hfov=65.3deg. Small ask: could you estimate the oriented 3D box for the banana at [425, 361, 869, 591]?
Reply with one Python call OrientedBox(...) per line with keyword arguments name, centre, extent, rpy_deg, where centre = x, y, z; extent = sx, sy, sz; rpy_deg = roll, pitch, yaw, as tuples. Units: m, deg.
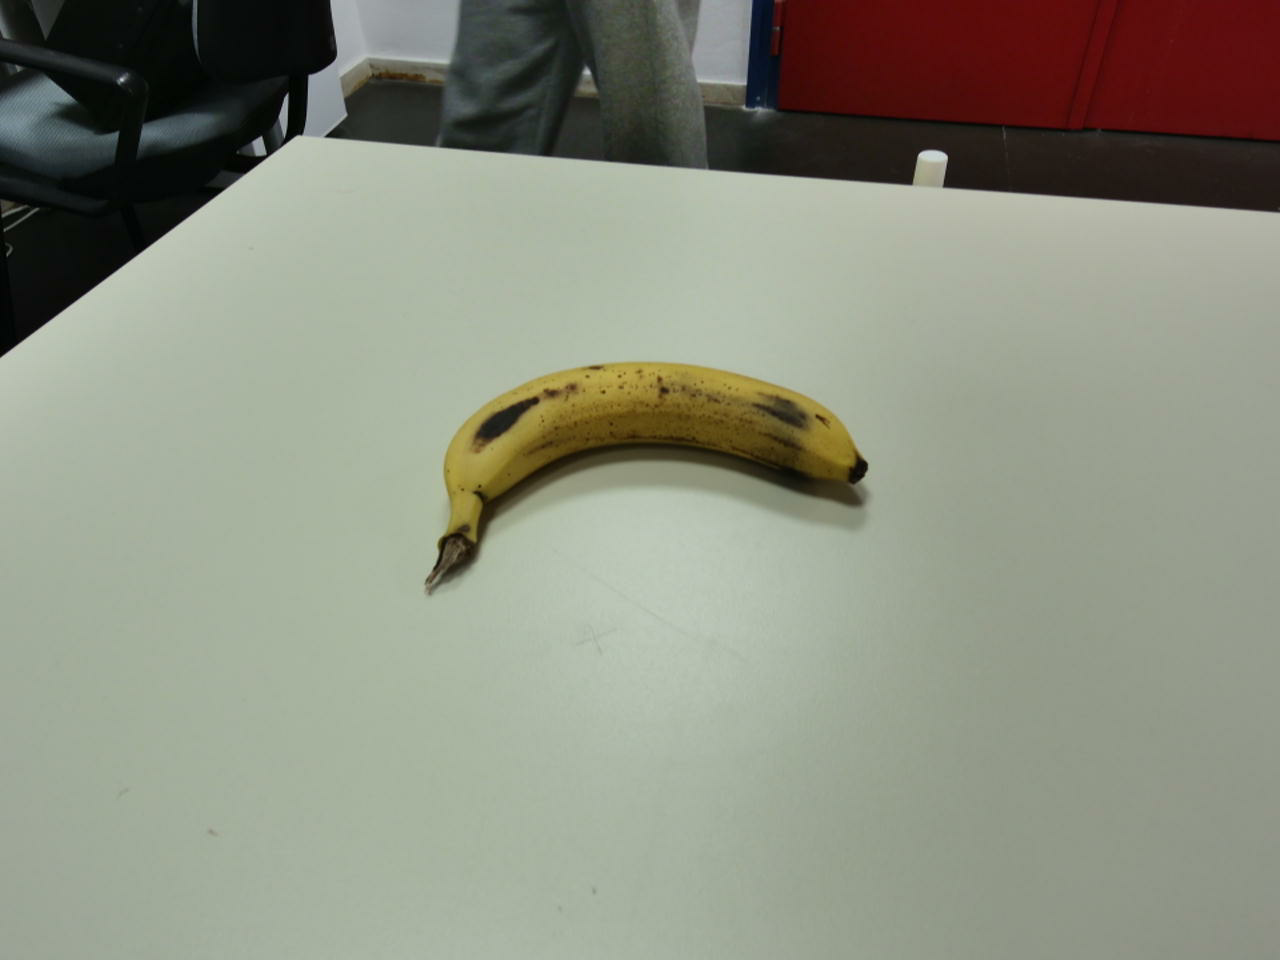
OrientedBox(name="banana", centre=(-0.003, -0.017, 0.445), extent=(0.186, 0.038, 0.097), rpy_deg=(-9, 39, -11))
